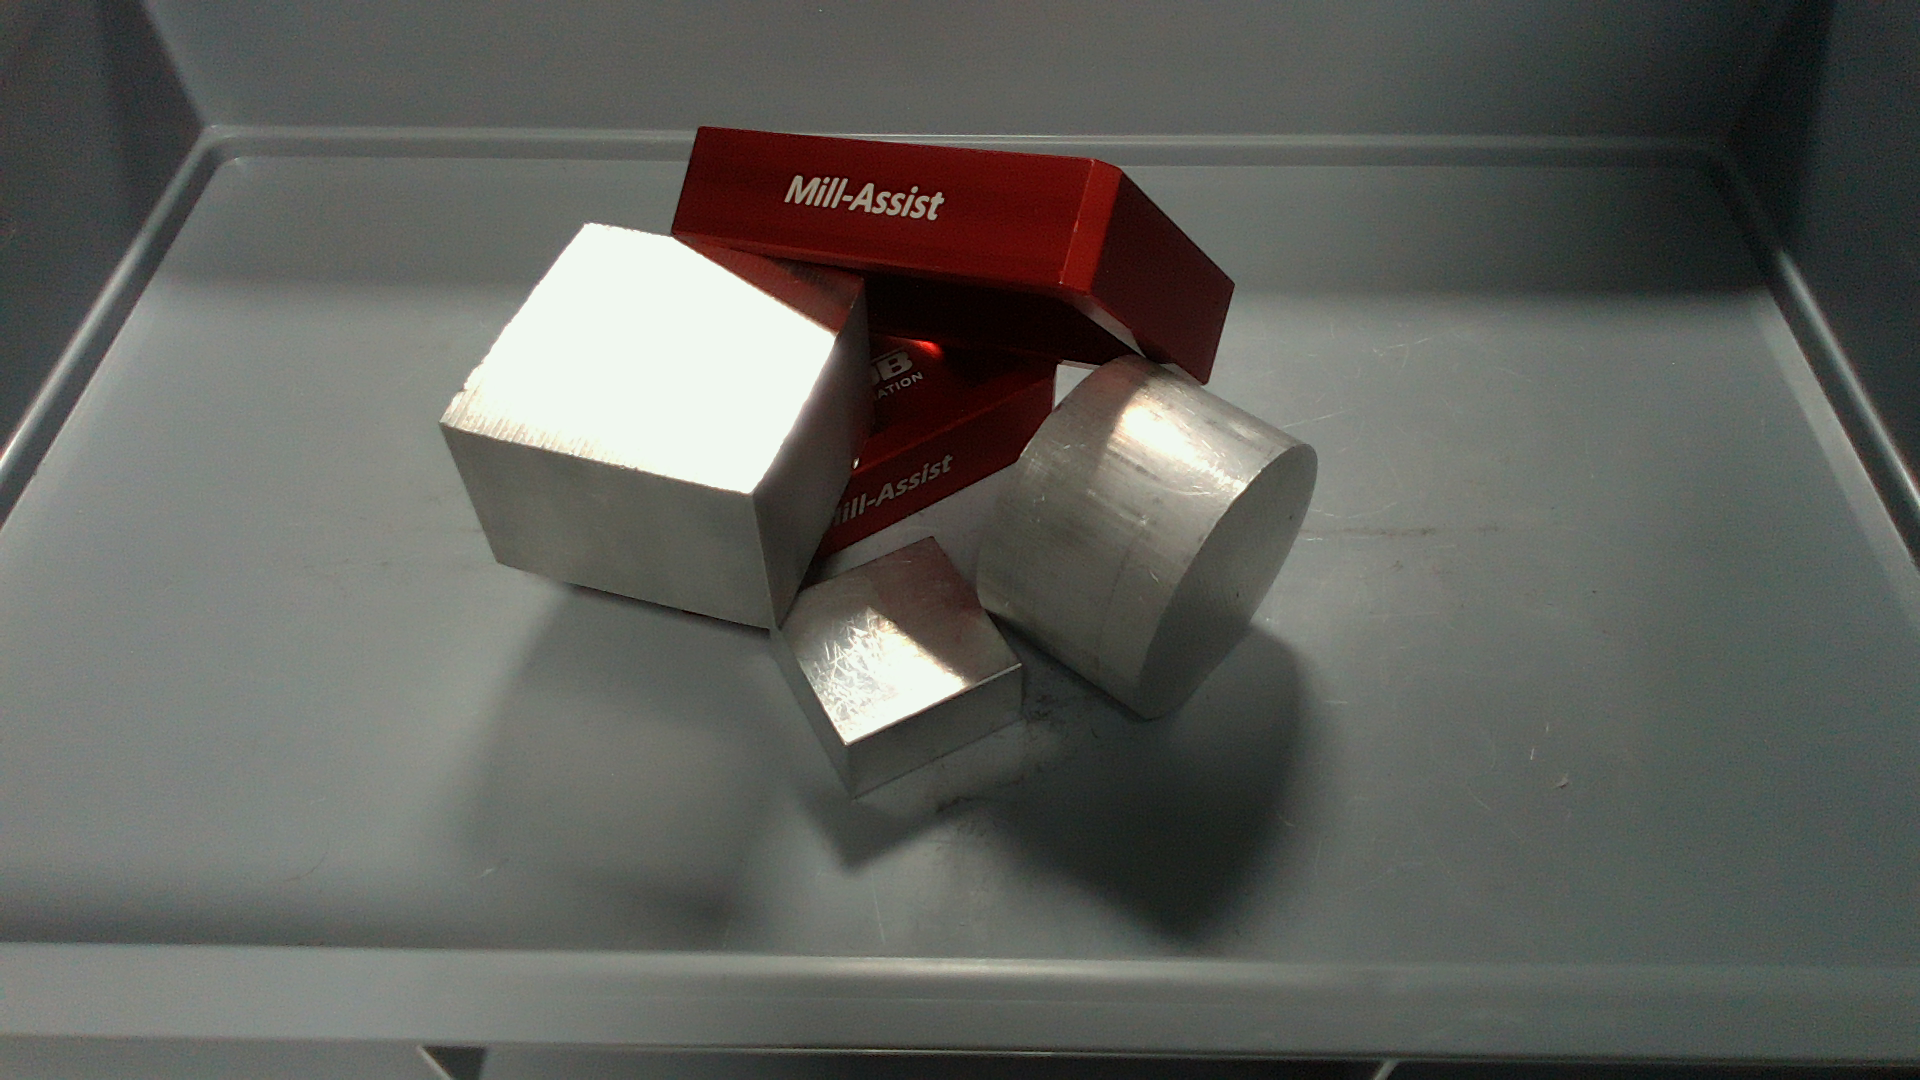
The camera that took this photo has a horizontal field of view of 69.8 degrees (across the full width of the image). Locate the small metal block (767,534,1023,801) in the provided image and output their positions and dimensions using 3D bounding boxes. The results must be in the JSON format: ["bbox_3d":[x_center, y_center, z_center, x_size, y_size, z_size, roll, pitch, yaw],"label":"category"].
[{"bbox_3d":[-0.018,0.032,0.363,0.050,0.025,0.050,-23,54,-18],"label":"small metal block"}]

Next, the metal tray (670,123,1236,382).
[{"bbox_3d":[-0.002,-0.077,0.375,0.130,0.090,0.030,14,89,30],"label":"metal tray"}]

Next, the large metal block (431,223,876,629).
[{"bbox_3d":[-0.074,-0.032,0.359,0.080,0.050,0.080,13,51,11],"label":"large metal block"}]

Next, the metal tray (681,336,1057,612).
[{"bbox_3d":[-0.047,-0.042,0.422,0.130,0.030,0.090,-27,55,-21],"label":"metal tray"}]

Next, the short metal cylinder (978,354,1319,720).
[{"bbox_3d":[0.049,-0.001,0.356,0.050,0.080,0.080,32,57,24],"label":"short metal cylinder"}]
